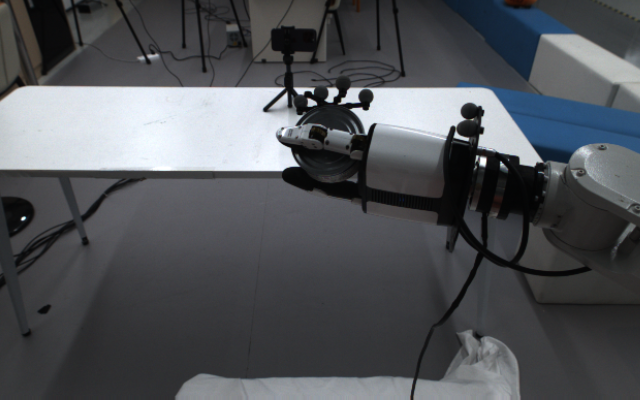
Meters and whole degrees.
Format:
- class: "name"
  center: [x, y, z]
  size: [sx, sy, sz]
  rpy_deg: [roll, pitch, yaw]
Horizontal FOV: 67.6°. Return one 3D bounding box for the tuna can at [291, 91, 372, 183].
- class: "tuna can"
  center: [0.012, -0.065, 0.558]
  size: [0.085, 0.034, 0.085]
  rpy_deg: [-5, 70, 14]
